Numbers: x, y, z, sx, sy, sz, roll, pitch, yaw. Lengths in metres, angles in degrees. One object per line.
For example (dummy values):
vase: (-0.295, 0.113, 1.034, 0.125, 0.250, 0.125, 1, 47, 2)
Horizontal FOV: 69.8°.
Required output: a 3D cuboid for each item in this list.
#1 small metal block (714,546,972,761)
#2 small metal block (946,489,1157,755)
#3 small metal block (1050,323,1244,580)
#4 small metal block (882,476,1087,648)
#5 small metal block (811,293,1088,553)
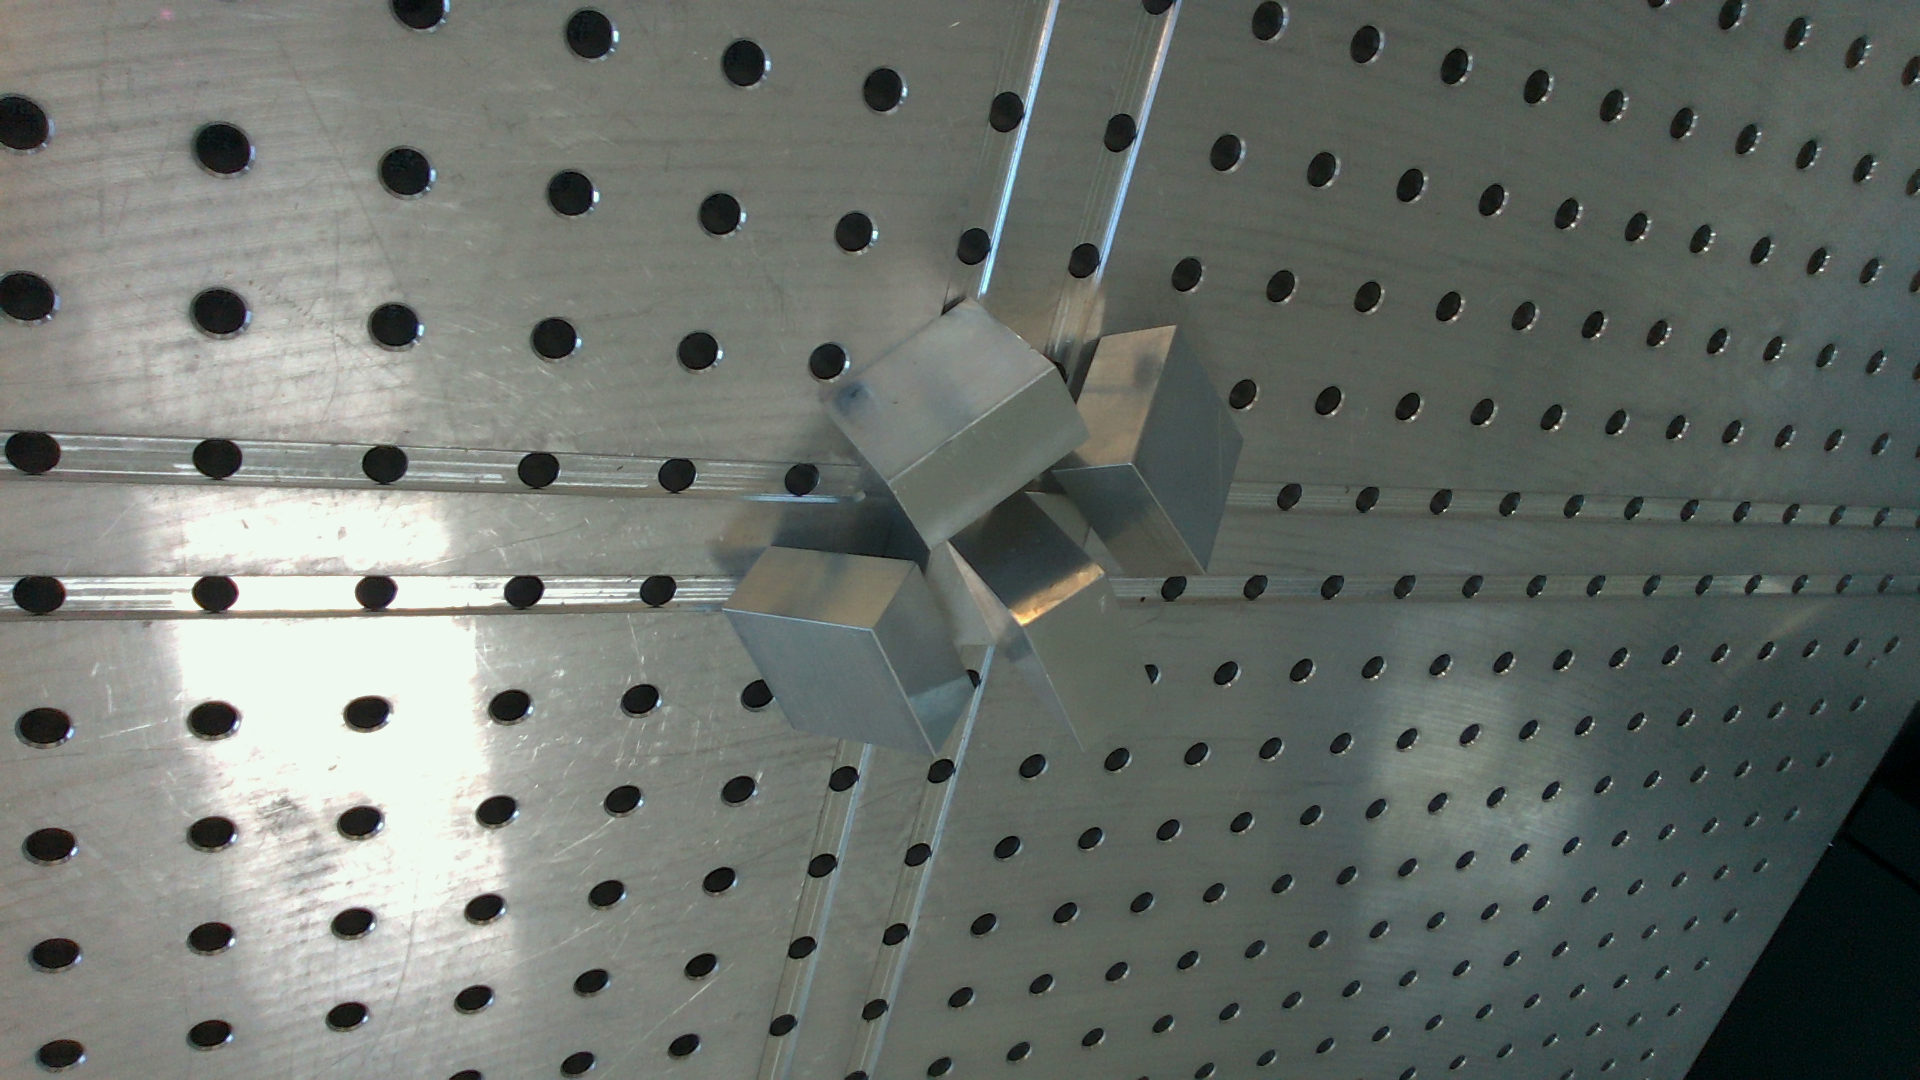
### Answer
small metal block: (-0.031, 0.031, 0.374, 0.025, 0.050, 0.050, -58, 140, -37)
small metal block: (0.023, 0.021, 0.368, 0.025, 0.050, 0.050, -32, 129, -8)
small metal block: (0.054, -0.024, 0.389, 0.050, 0.025, 0.050, 50, 49, -39)
small metal block: (0.006, 0.003, 0.397, 0.050, 0.025, 0.050, 0, 118, -30)
small metal block: (-0.004, -0.031, 0.355, 0.050, 0.050, 0.025, -36, 129, -5)
